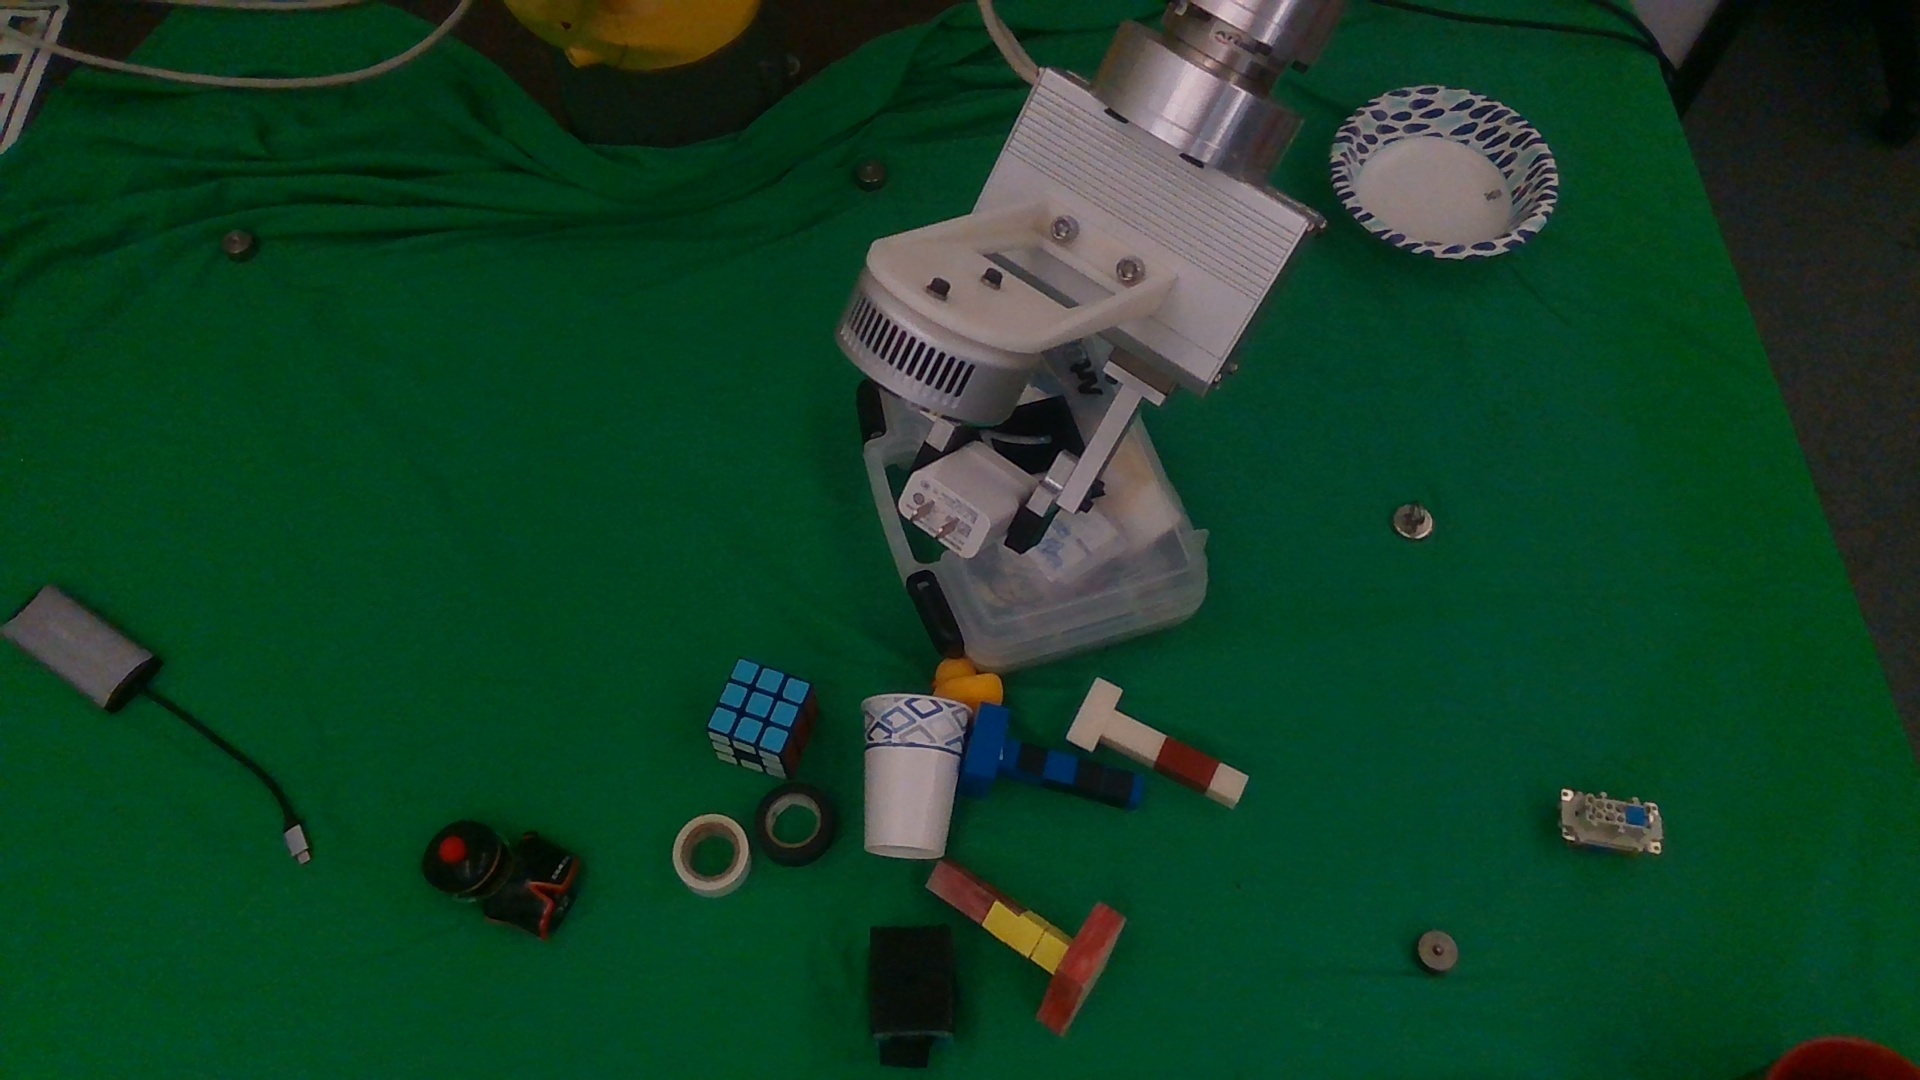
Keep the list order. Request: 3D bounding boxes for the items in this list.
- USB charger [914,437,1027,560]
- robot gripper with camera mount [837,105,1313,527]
[{"bbox_3d":[0.005,-0.017,0.592,0.044,0.029,0.075,36,23,-4],"label":"USB charger"},{"bbox_3d":[0.016,-0.058,0.509,0.119,0.159,0.193,38,27,11],"label":"robot gripper with camera mount"}]
